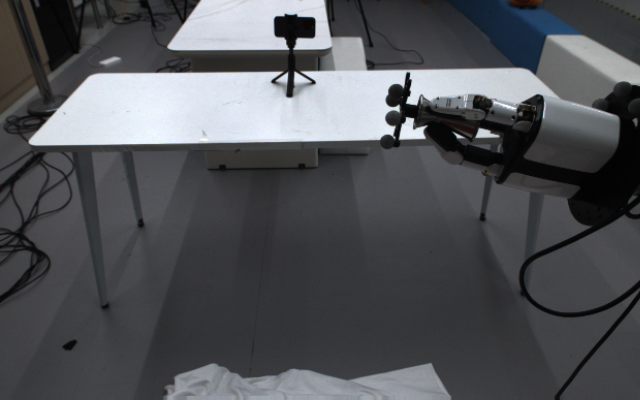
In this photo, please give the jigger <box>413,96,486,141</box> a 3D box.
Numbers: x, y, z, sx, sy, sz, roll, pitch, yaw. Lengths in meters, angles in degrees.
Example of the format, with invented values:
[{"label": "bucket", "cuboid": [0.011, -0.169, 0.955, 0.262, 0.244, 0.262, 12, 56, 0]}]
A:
[{"label": "jigger", "cuboid": [0.148, -0.101, 0.555, 0.071, 0.043, 0.043, 11, 35, 3]}]
